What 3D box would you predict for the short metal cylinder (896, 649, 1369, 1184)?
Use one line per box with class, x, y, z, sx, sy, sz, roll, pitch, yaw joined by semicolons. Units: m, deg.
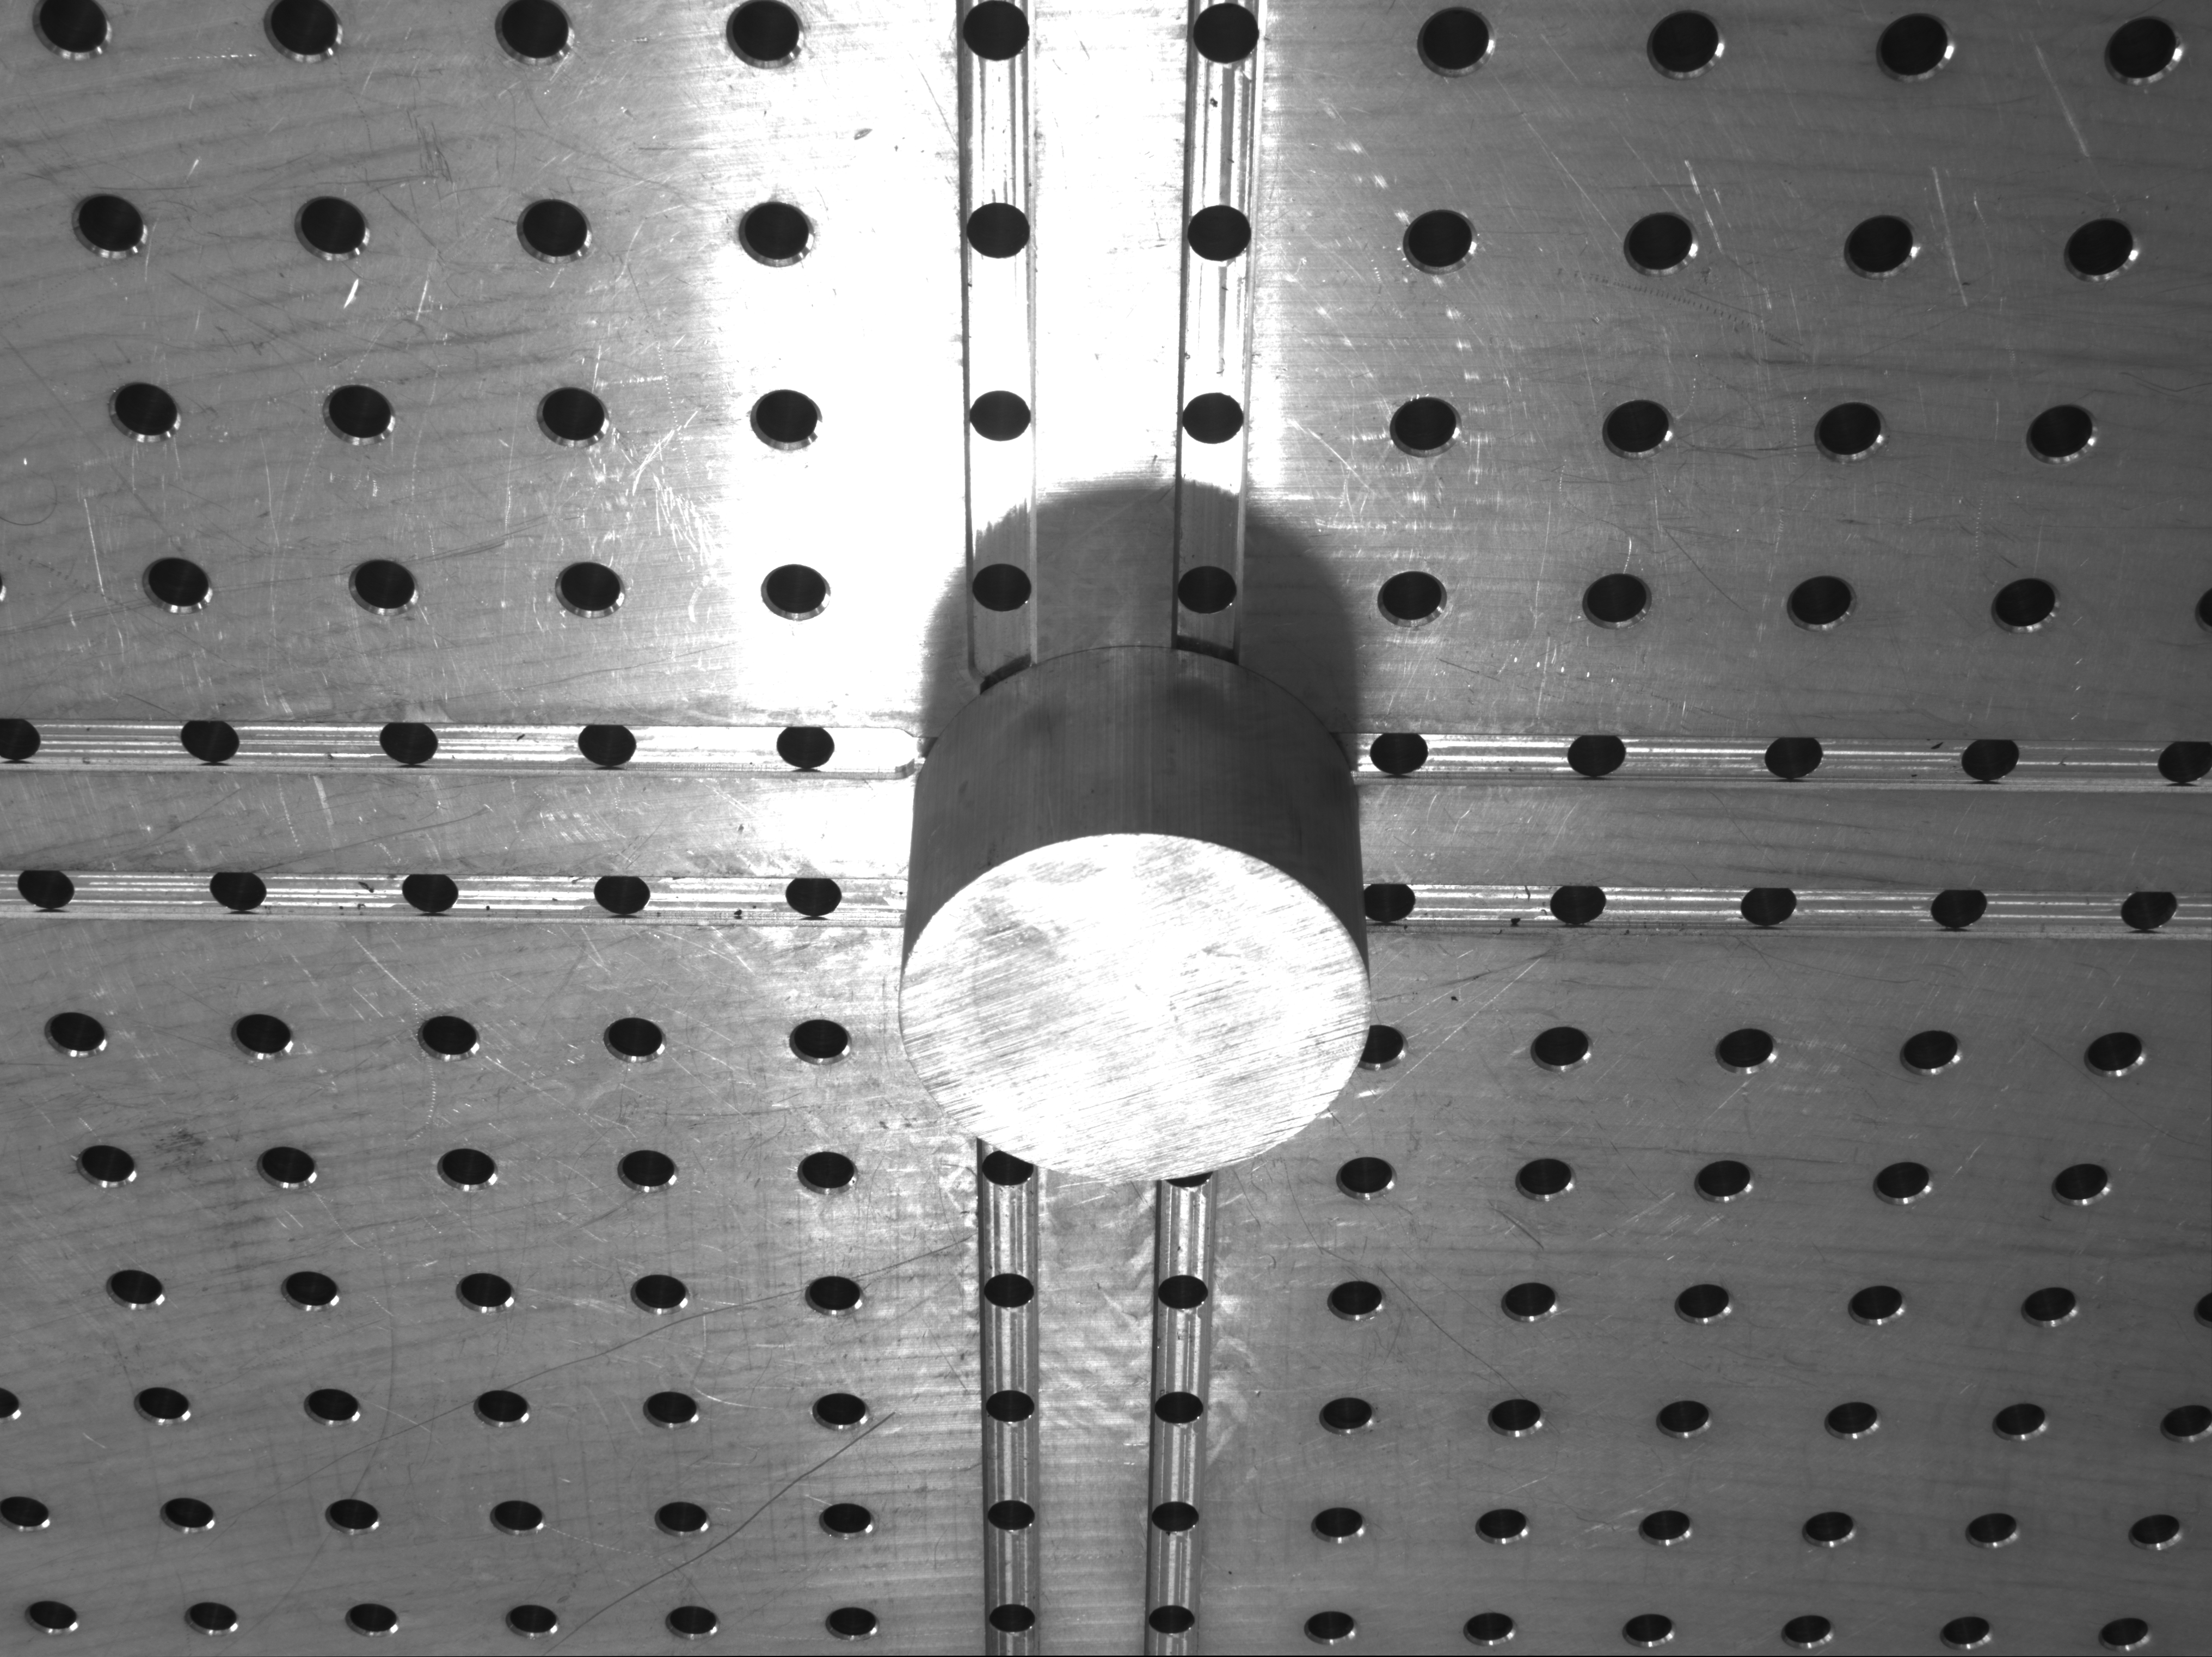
short metal cylinder;0.005;0.016;0.640;0.080;0.050;0.080;0;130;0
